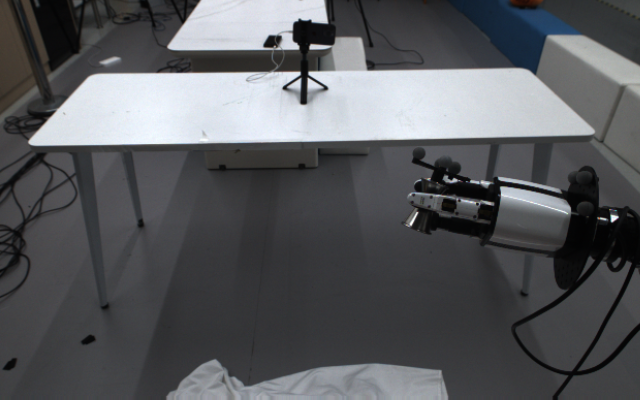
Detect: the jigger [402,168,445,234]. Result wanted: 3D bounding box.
[{"bbox_3d":[0.141,0.006,0.652,0.043,0.071,0.043,22,6,-2],"label":"jigger"}]
